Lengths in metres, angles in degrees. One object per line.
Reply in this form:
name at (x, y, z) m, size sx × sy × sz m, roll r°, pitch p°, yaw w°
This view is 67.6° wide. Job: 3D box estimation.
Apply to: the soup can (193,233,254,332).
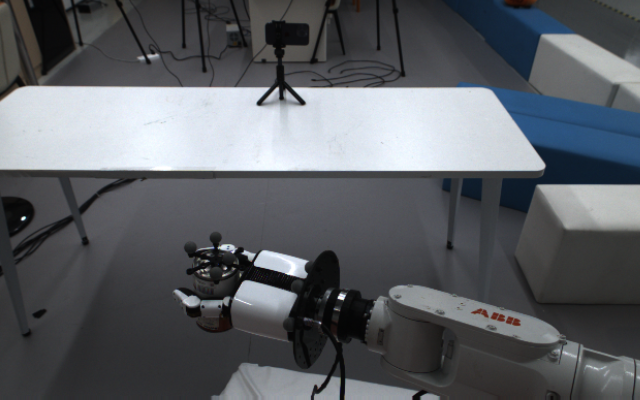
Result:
soup can at (-0.147, 0.134, 0.699) m, size 0.067 × 0.101 × 0.067 m, roll 4°, pitch 31°, yaw -2°
